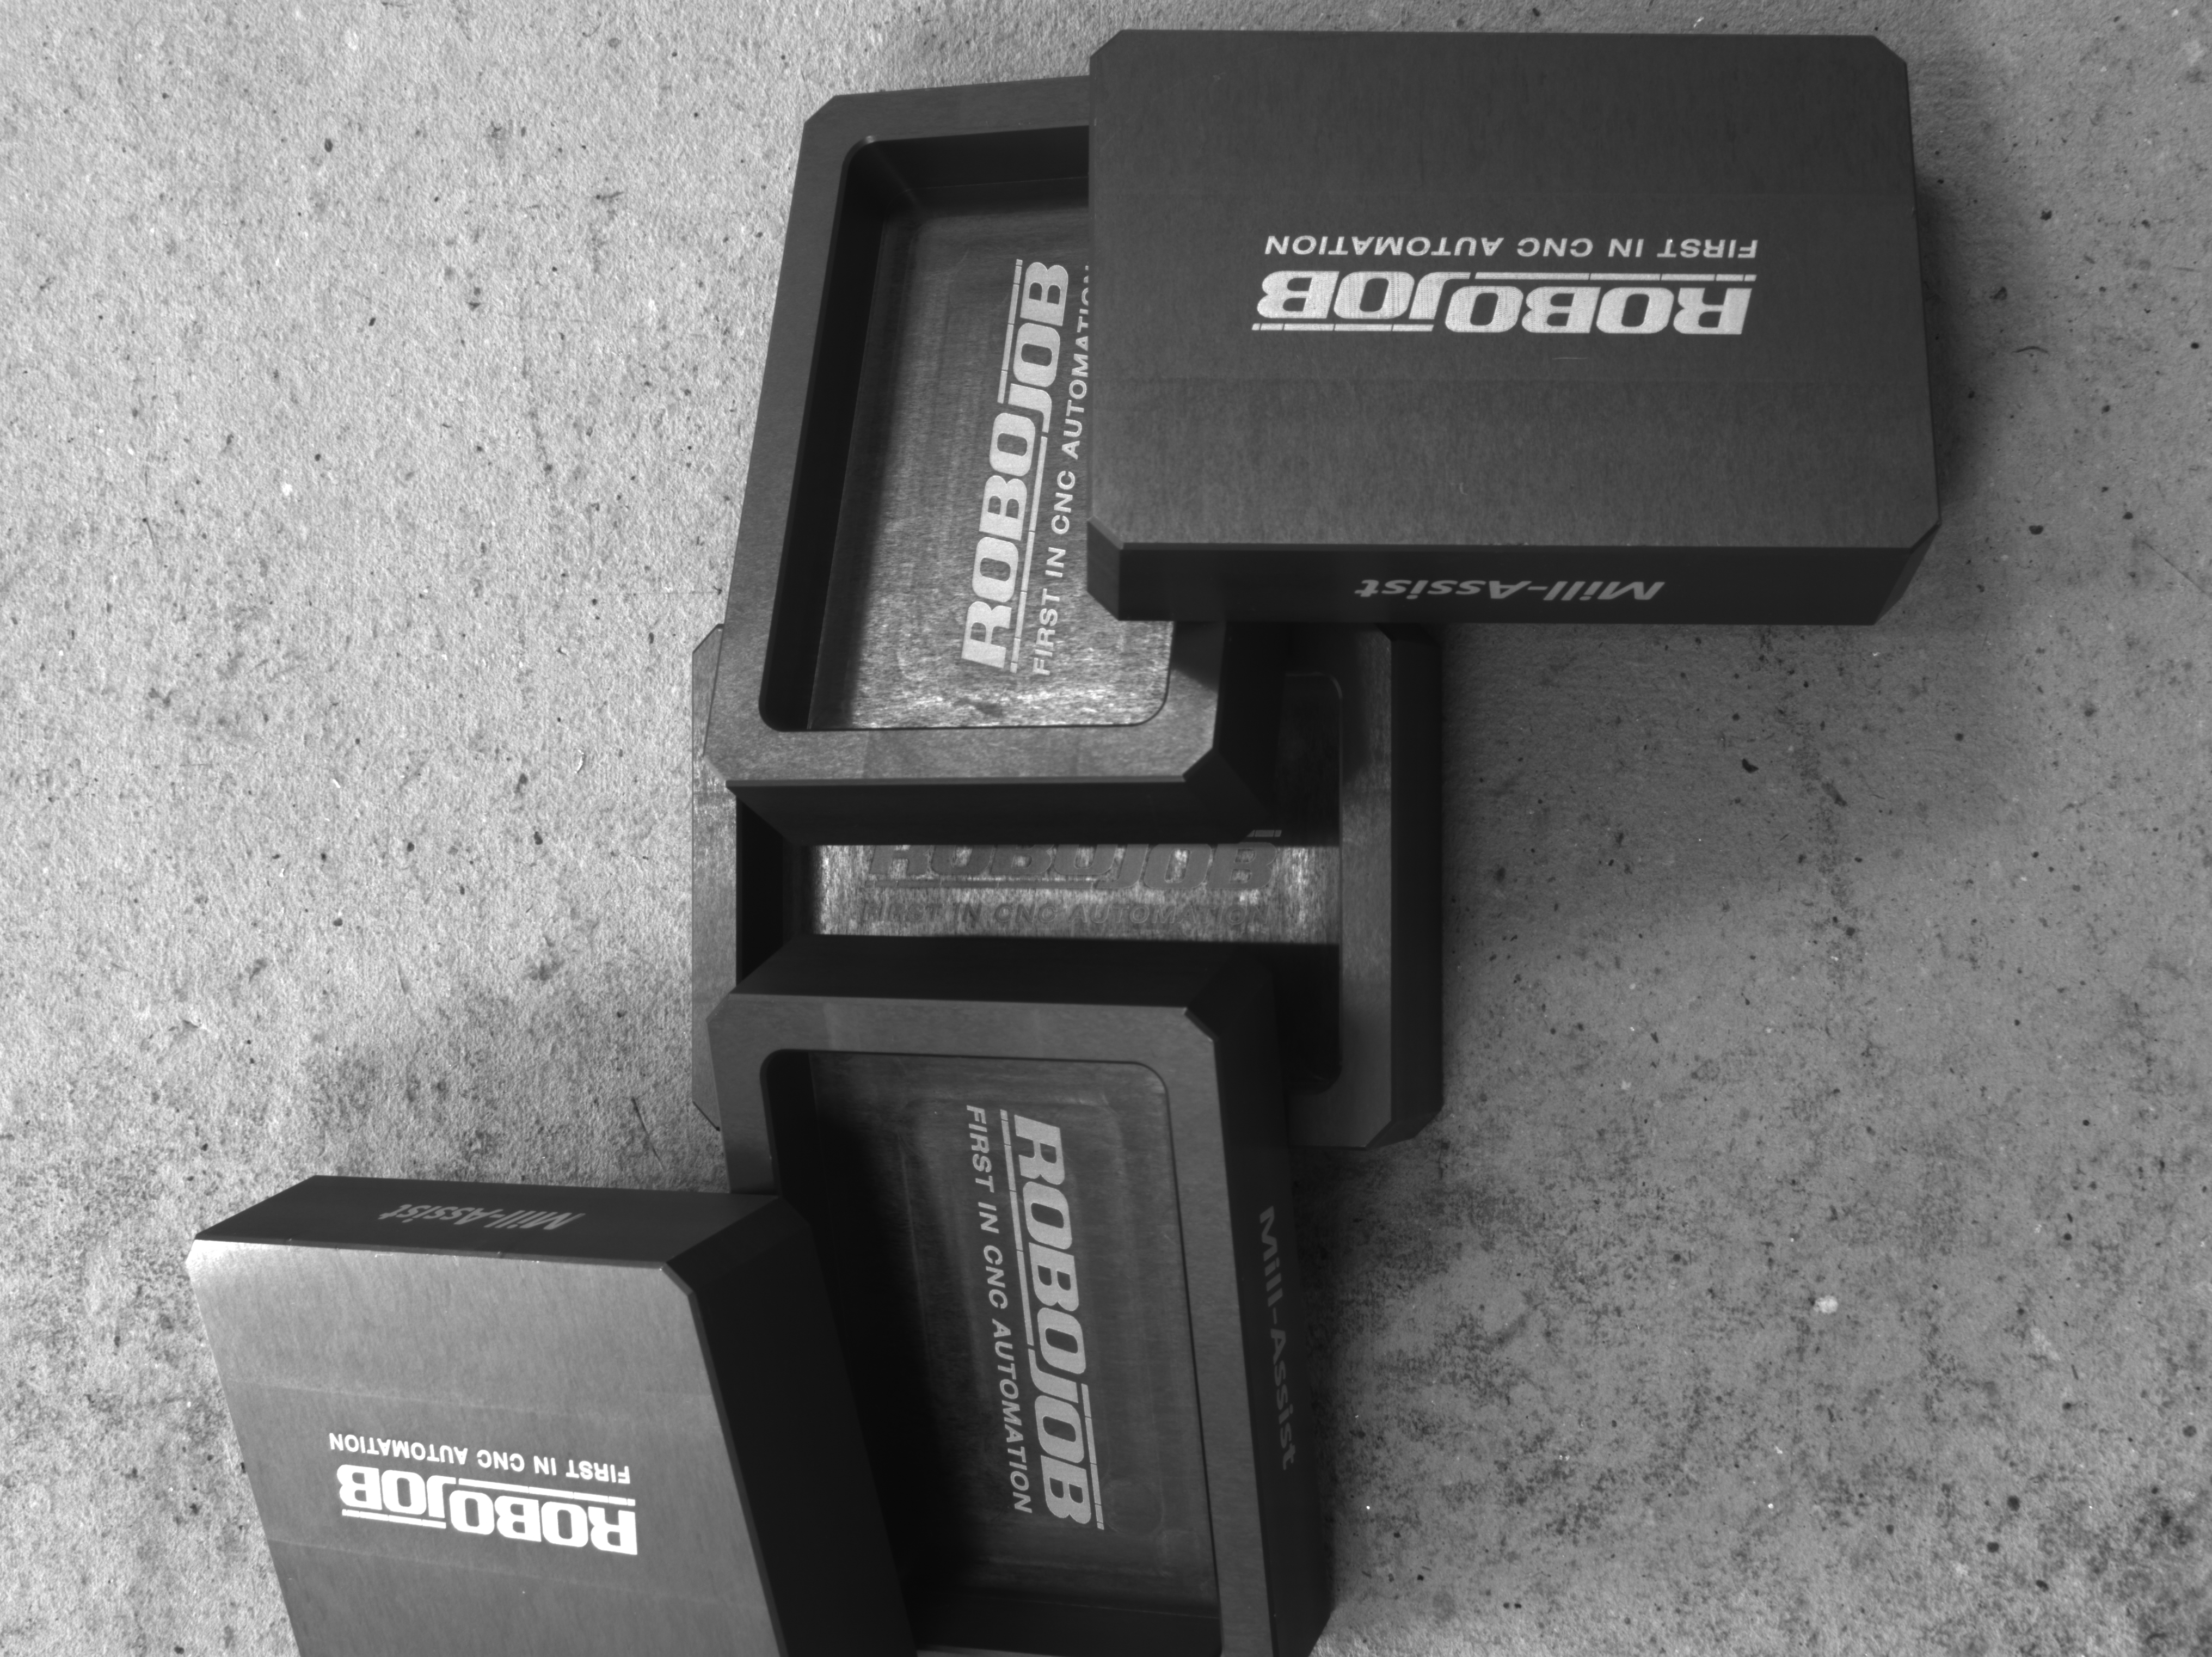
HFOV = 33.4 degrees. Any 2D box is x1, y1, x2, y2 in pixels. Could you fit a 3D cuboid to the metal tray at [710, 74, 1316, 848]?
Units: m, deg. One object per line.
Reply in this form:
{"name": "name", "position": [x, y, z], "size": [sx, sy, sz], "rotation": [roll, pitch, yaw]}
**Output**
{"name": "metal tray", "position": [-0.012, -0.063, 0.627], "size": [0.090, 0.030, 0.130], "rotation": [0, 70, 20]}

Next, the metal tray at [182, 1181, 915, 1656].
{"name": "metal tray", "position": [-0.100, 0.110, 0.649], "size": [0.130, 0.030, 0.090], "rotation": [-3, 106, 38]}

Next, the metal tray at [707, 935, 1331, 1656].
{"name": "metal tray", "position": [-0.014, 0.085, 0.627], "size": [0.090, 0.030, 0.130], "rotation": [1, 109, 20]}

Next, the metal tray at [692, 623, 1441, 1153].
{"name": "metal tray", "position": [-0.008, 0.009, 0.647], "size": [0.130, 0.030, 0.090], "rotation": [0, 90, 20]}

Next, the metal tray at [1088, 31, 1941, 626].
{"name": "metal tray", "position": [0.062, -0.080, 0.587], "size": [0.130, 0.030, 0.090], "rotation": [0, 71, -1]}
